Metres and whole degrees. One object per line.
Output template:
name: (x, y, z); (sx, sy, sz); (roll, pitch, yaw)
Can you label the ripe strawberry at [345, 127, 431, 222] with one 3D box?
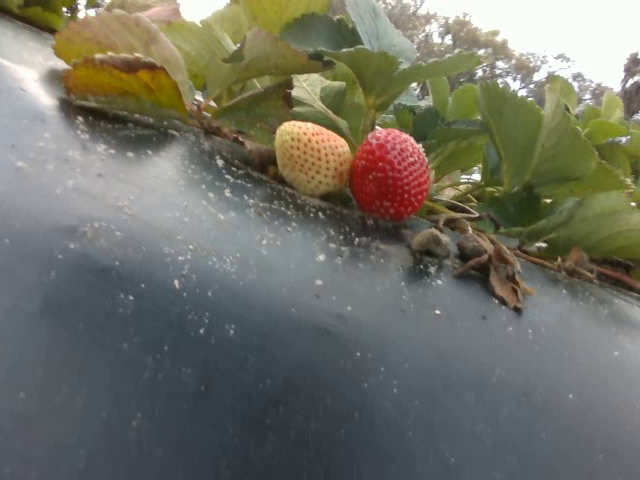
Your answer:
ripe strawberry: (0.024, -0.026, 0.207); (0.033, 0.034, 0.041); (-39, -29, -3)
